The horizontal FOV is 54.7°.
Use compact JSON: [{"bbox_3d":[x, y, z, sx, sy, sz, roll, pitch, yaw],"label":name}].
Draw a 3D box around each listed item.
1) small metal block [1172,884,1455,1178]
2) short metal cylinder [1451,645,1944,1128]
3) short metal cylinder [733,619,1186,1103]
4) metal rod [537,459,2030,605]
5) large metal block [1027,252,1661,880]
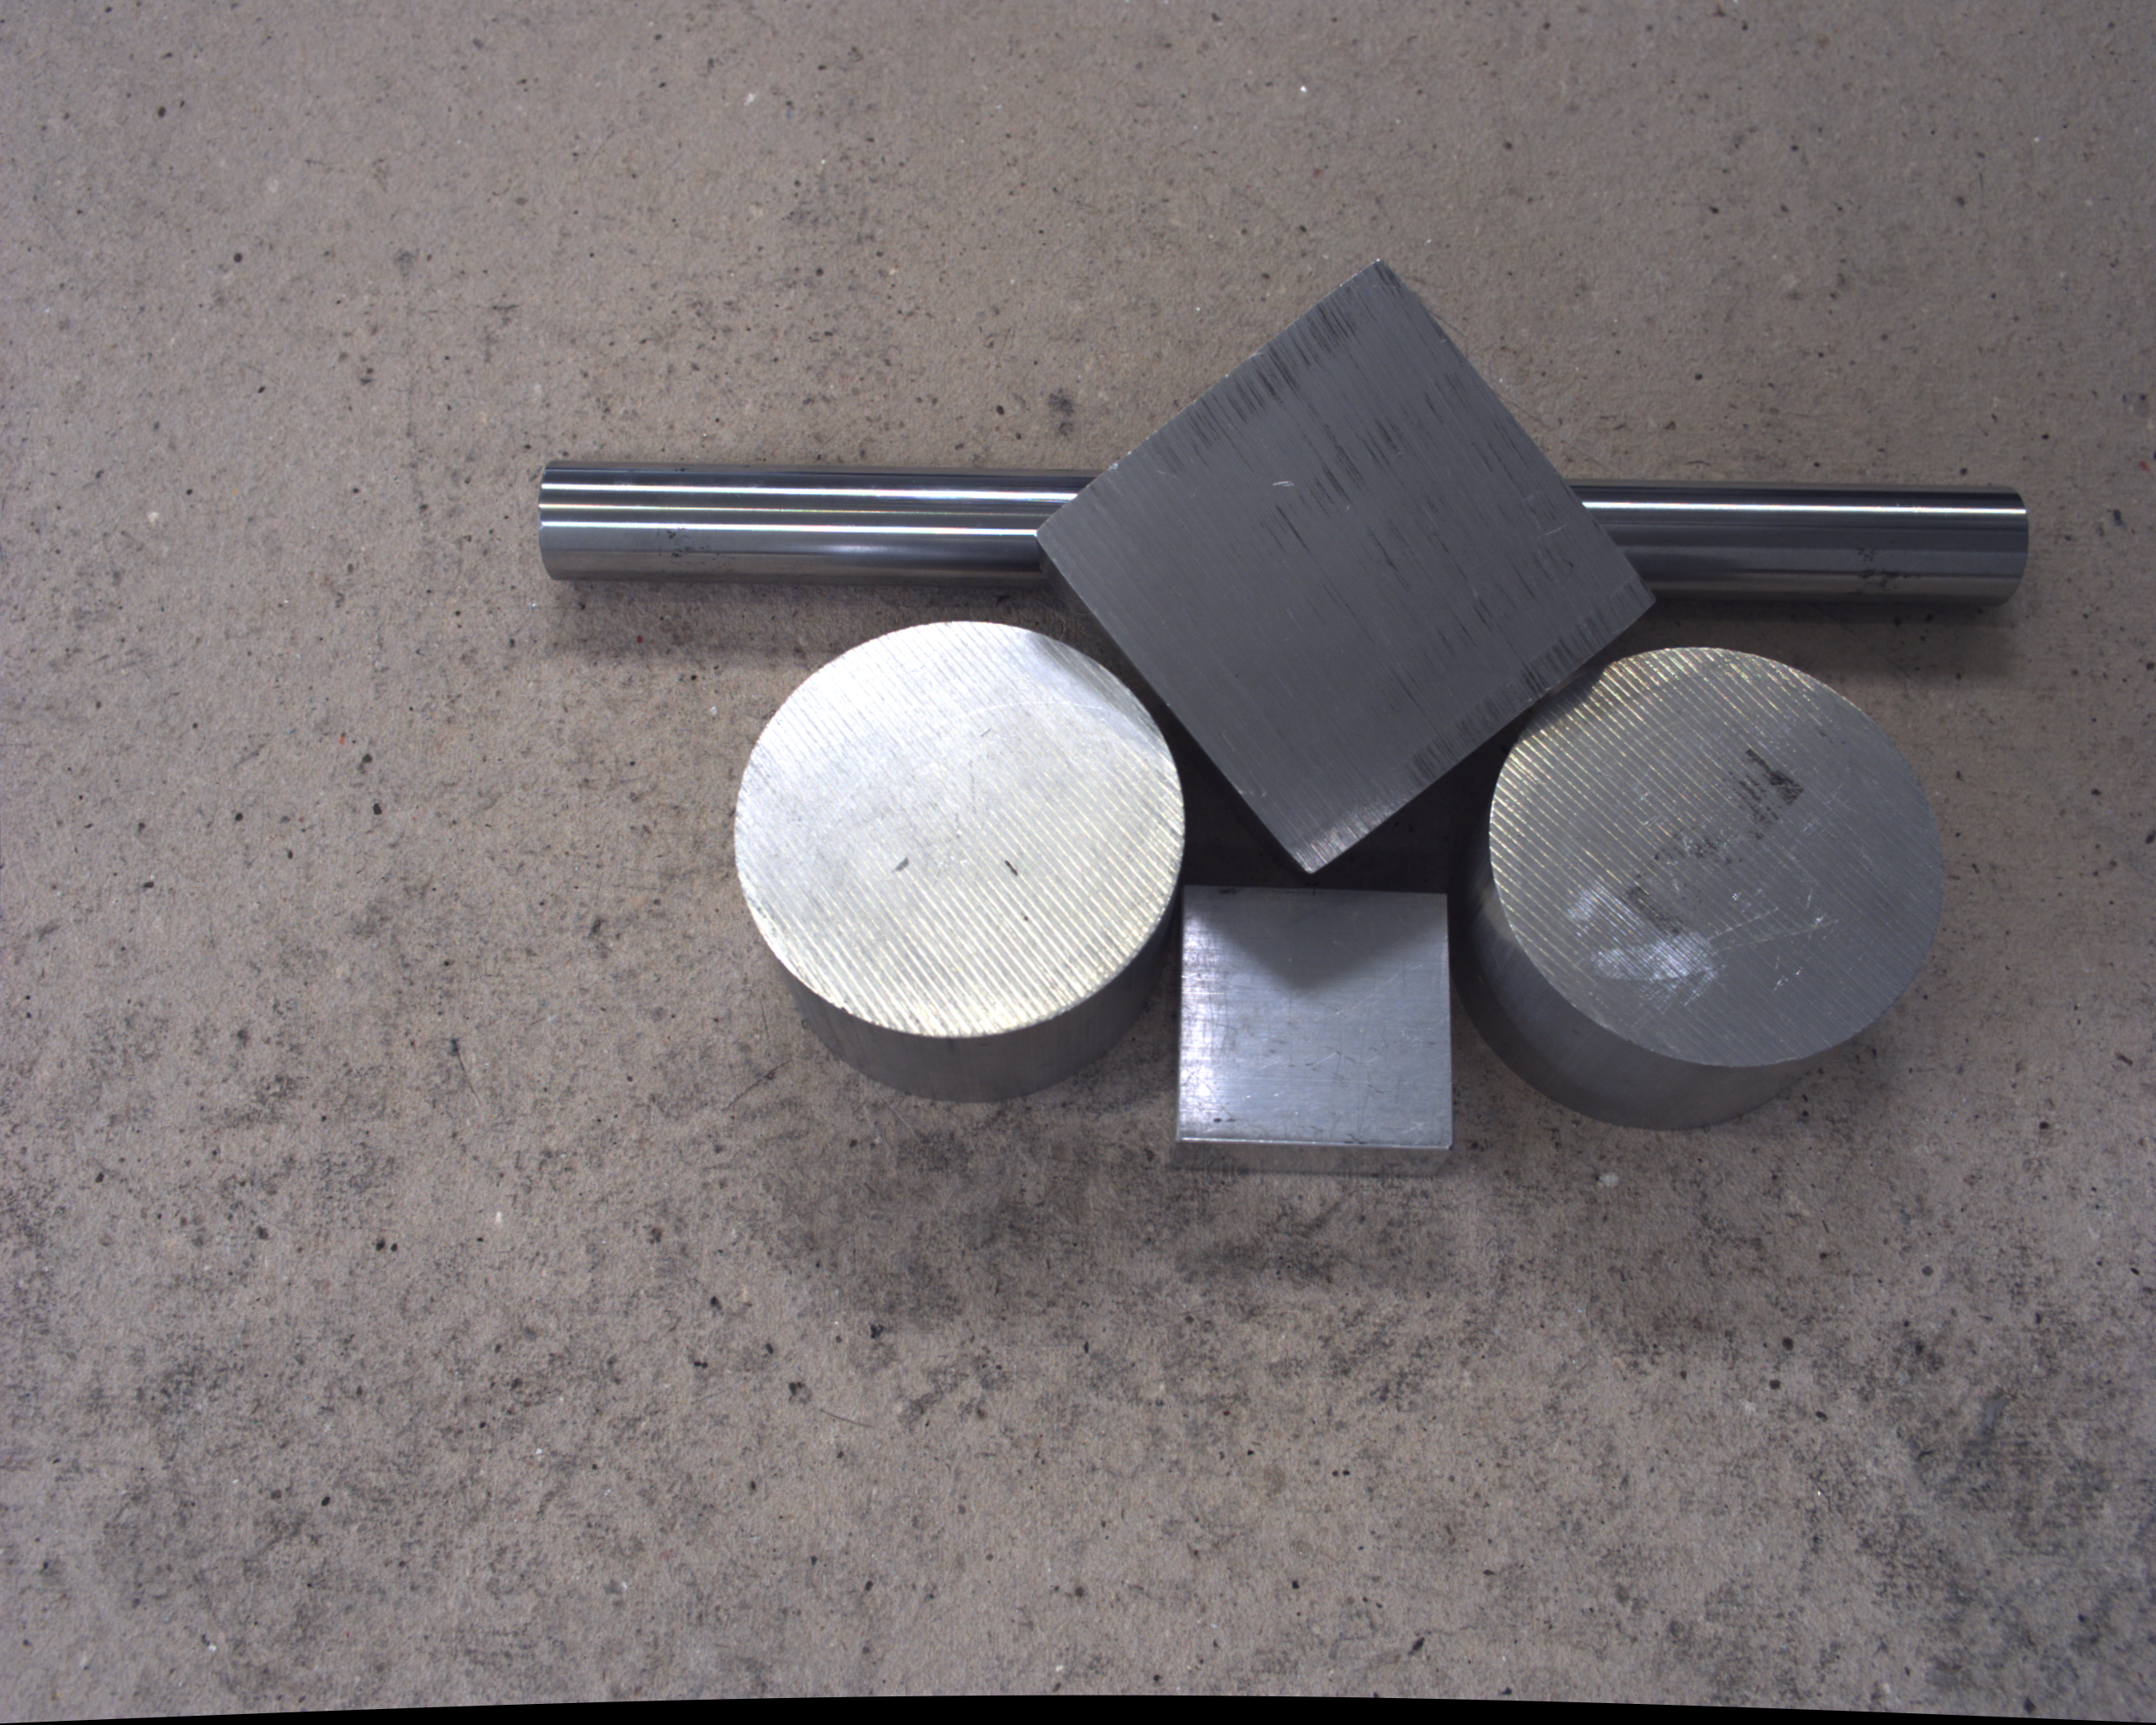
[{"bbox_3d":[0.044,0.032,0.398,0.050,0.025,0.050,2,70,0],"label":"small metal block"},{"bbox_3d":[0.113,0.006,0.394,0.081,0.050,0.080,0,70,0],"label":"short metal cylinder"},{"bbox_3d":[-0.021,0.001,0.395,0.081,0.050,0.080,0,70,0],"label":"short metal cylinder"},{"bbox_3d":[0.042,-0.069,0.434,0.302,0.025,0.025,1,70,0],"label":"metal rod"},{"bbox_3d":[0.048,-0.053,0.397,0.080,0.050,0.080,-39,91,1],"label":"large metal block"}]
